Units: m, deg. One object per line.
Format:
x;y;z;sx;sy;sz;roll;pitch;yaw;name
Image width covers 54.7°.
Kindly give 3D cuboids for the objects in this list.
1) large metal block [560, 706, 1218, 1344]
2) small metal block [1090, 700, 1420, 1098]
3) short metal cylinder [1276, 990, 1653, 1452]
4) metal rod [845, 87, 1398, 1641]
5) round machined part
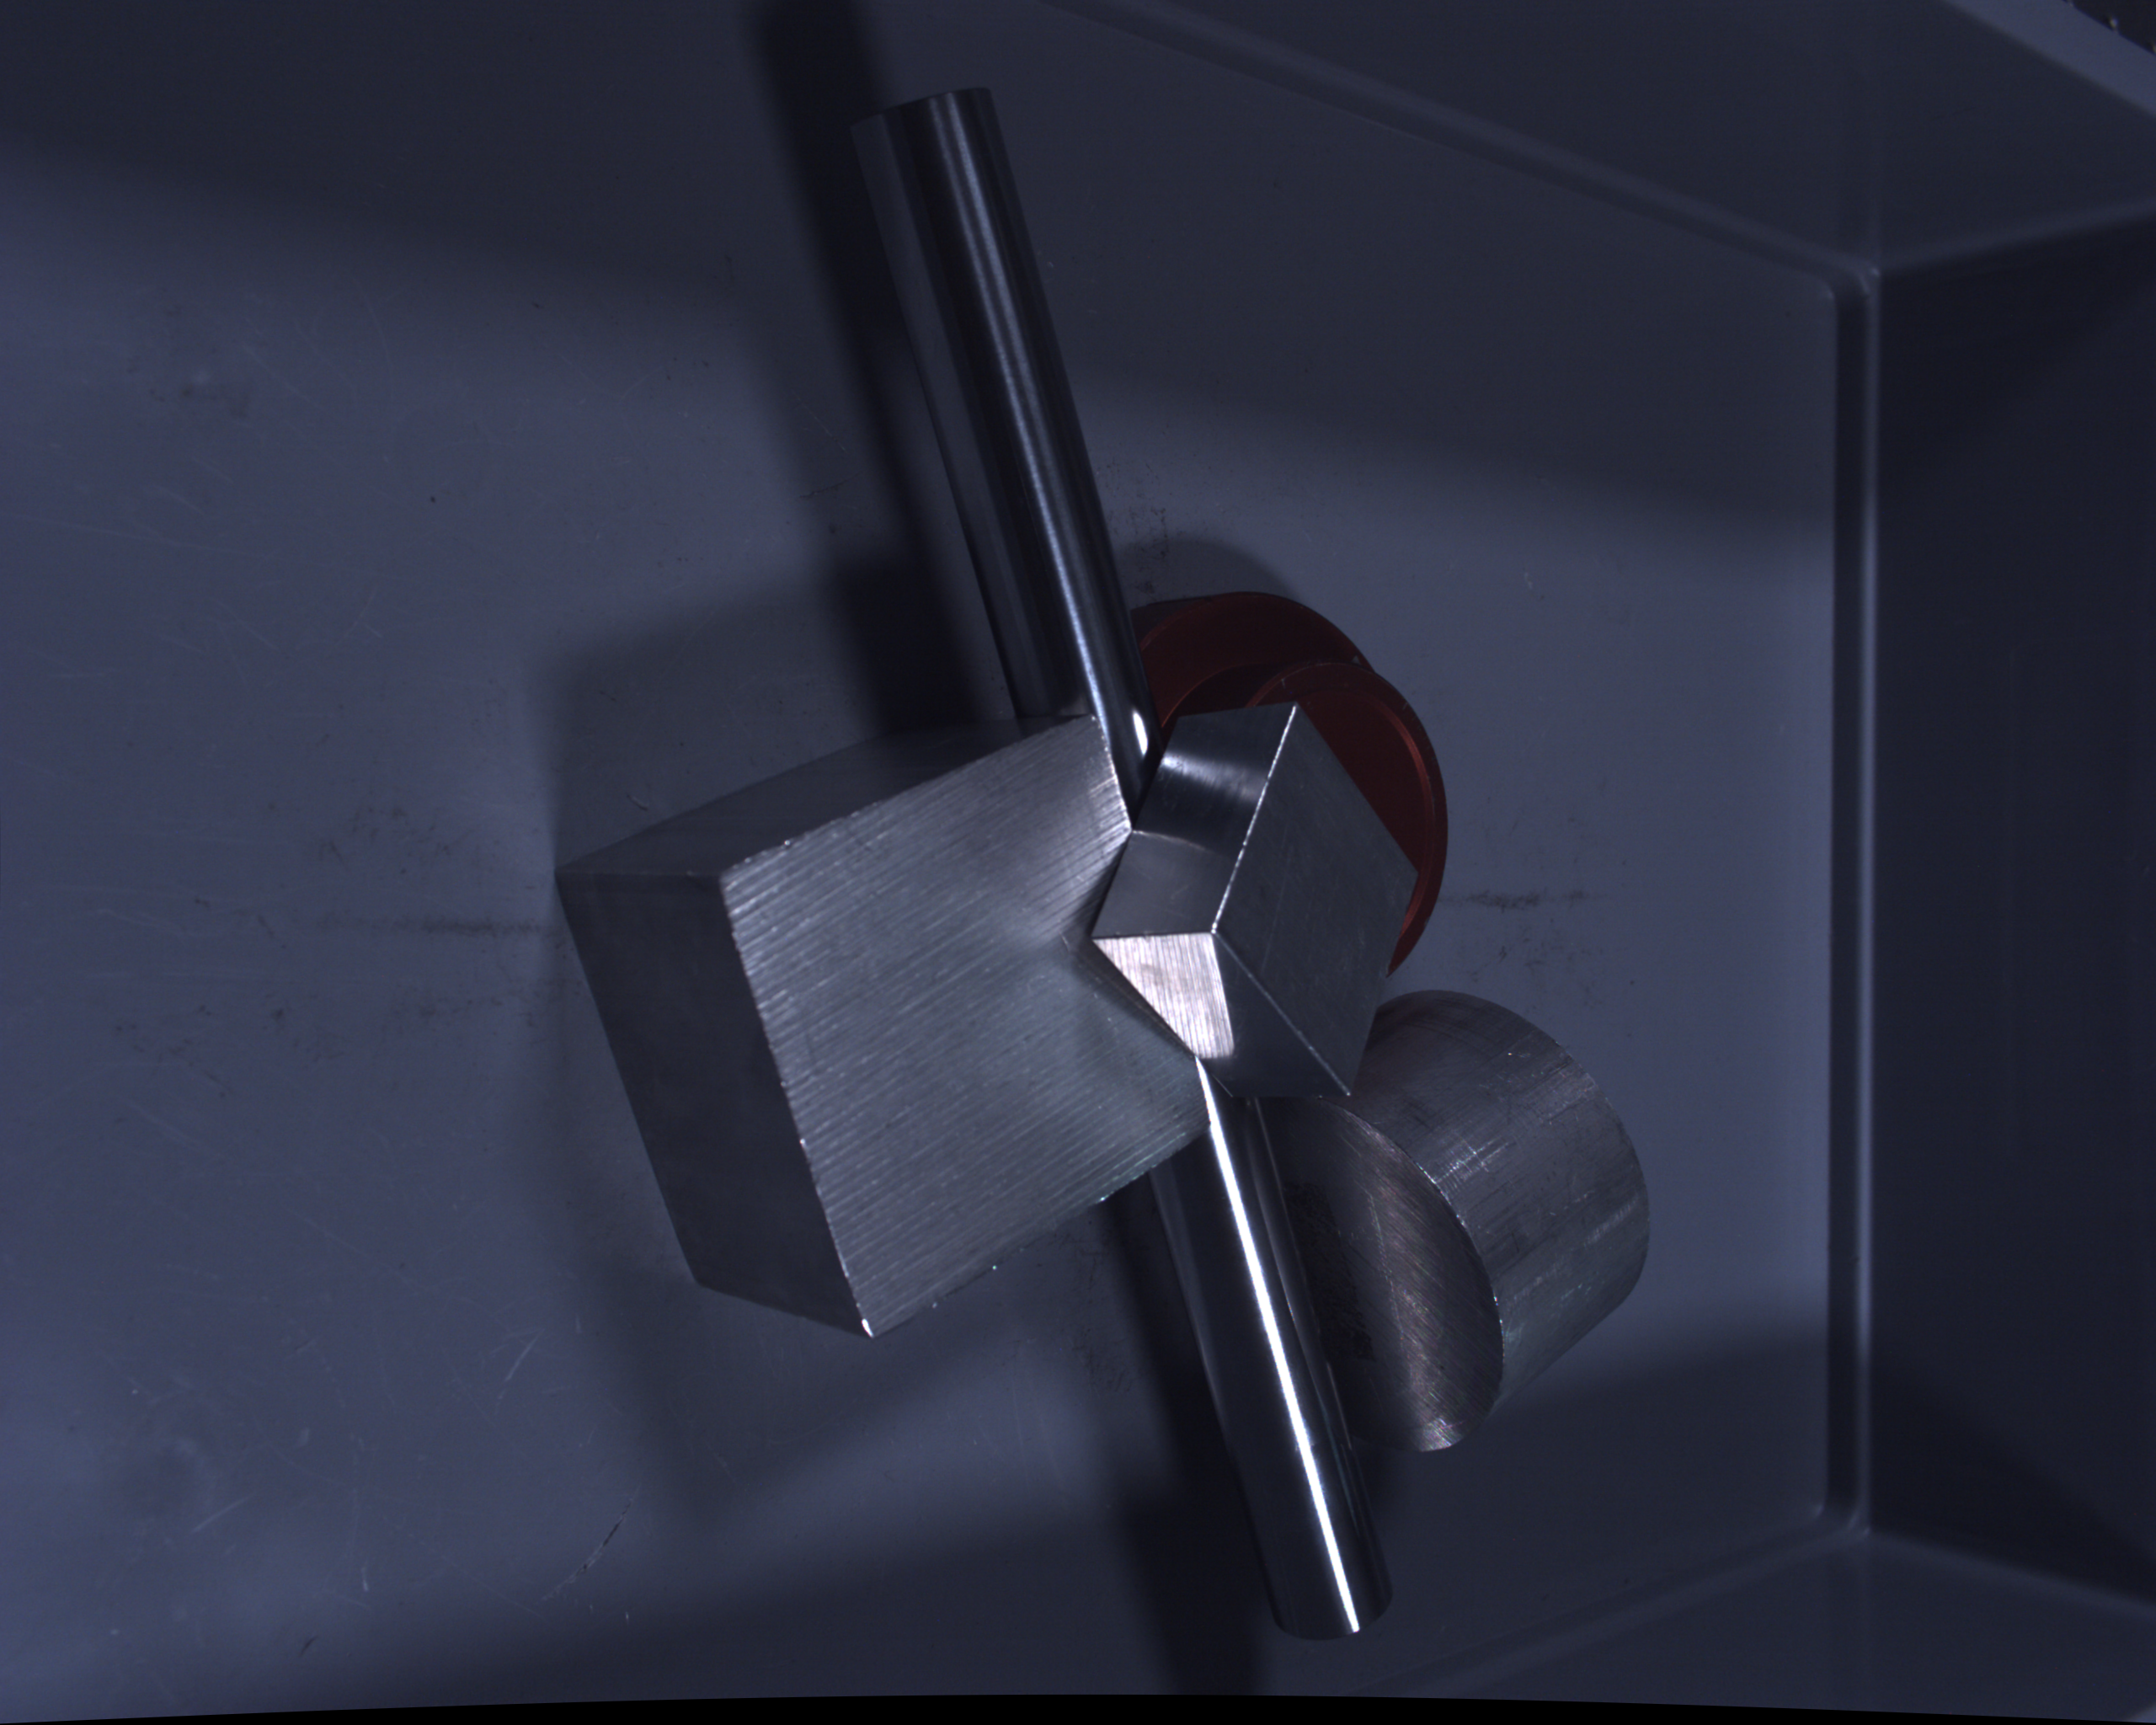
-0.030;0.024;0.361;0.081;0.050;0.080;-26;107;-37;large metal block
0.033;0.007;0.372;0.050;0.025;0.050;50;49;-37;small metal block
0.069;0.073;0.430;0.050;0.080;0.080;-26;107;-37;short metal cylinder
0.013;0.011;0.390;0.025;0.025;0.298;-26;107;-37;metal rod
0.038;-0.007;0.427;0.099;0.042;0.097;0;90;-40;round machined part
